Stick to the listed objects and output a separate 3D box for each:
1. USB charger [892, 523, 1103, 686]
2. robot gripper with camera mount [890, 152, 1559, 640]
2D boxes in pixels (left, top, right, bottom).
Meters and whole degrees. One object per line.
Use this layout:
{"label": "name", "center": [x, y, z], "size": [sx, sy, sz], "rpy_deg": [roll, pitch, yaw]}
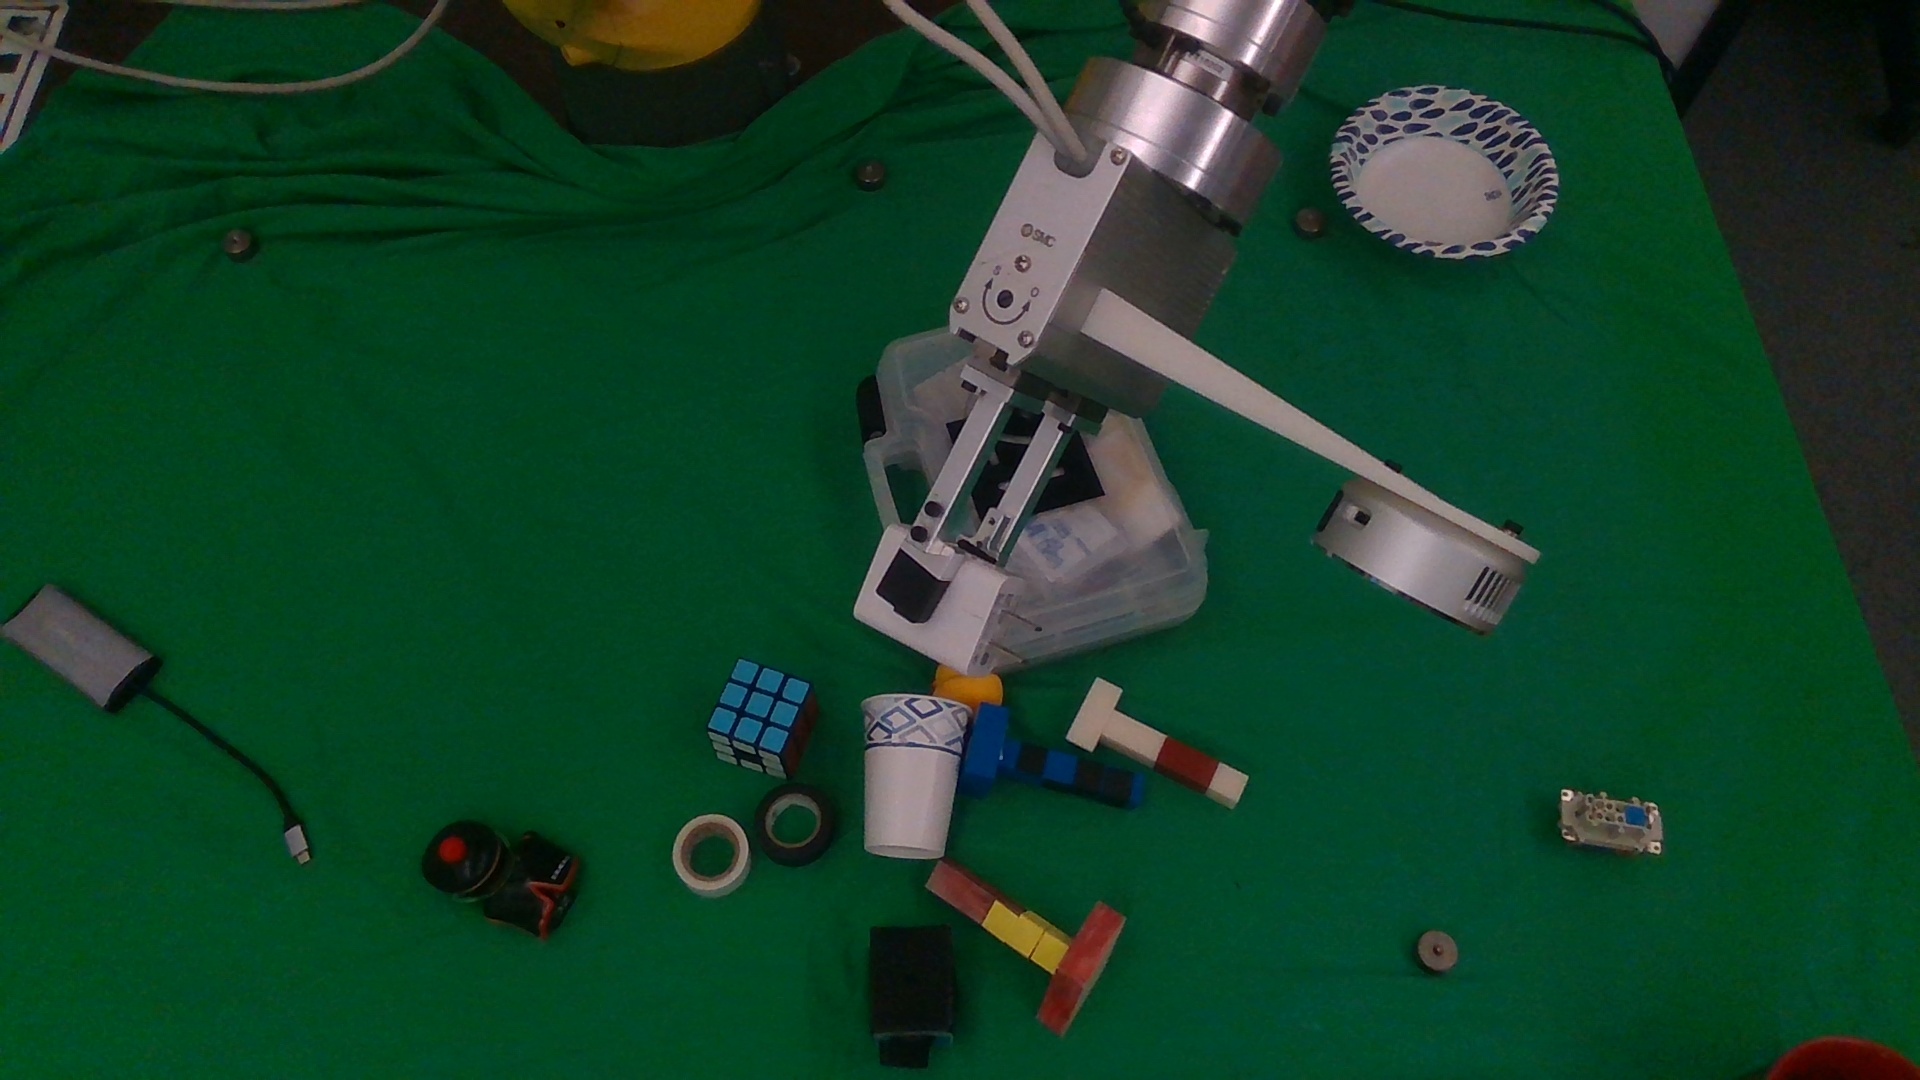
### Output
{"label": "USB charger", "center": [0.014, 0.026, 0.497], "size": [0.076, 0.029, 0.044], "rpy_deg": [19, 104, 23]}
{"label": "robot gripper with camera mount", "center": [0.086, -0.005, 0.457], "size": [0.194, 0.118, 0.159], "rpy_deg": [32, 103, 28]}
